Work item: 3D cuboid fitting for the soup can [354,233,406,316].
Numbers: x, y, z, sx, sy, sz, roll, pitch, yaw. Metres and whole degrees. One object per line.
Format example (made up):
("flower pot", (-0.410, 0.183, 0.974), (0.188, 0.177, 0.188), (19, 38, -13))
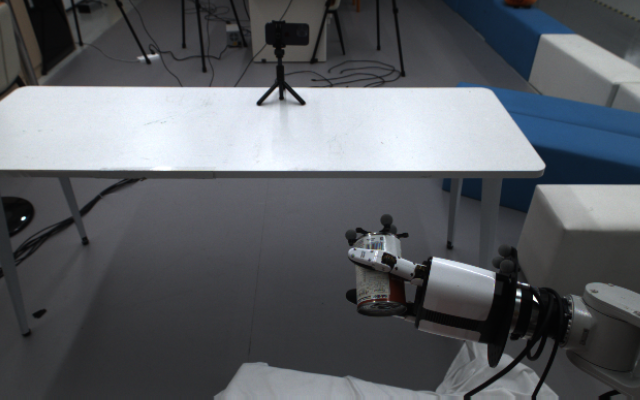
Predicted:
("soup can", (0.085, 0.104, 0.675), (0.067, 0.067, 0.101), (1, 62, -2))
